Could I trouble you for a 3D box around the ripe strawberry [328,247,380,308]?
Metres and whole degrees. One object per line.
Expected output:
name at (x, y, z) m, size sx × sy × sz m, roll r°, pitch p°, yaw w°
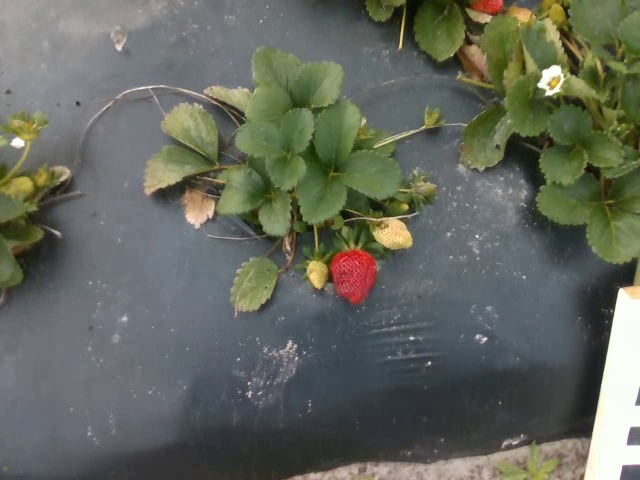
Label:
ripe strawberry at (0.031, 0.037, 0.532) m, size 0.046 × 0.059 × 0.046 m, roll -8°, pitch -43°, yaw 8°
